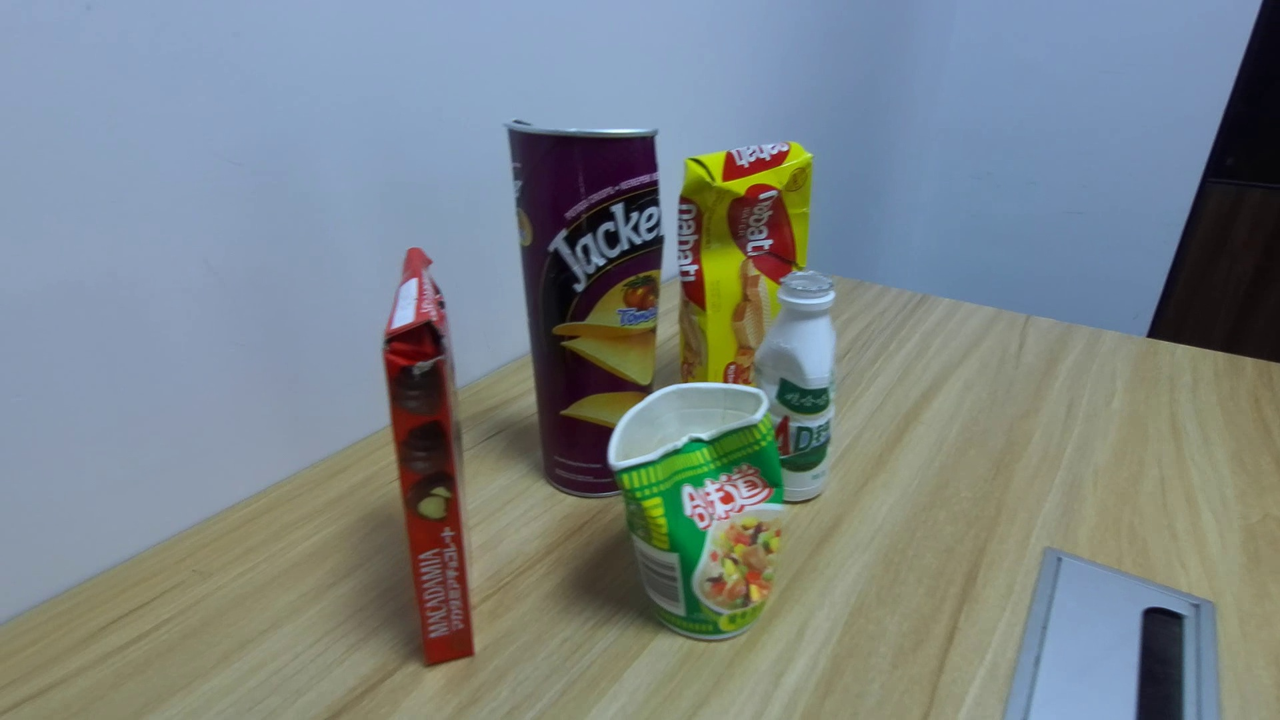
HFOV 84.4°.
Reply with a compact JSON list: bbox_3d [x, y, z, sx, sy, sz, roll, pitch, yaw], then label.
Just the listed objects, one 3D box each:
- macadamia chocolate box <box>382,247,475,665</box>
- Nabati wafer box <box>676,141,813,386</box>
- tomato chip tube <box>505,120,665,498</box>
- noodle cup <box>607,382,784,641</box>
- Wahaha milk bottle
[{"bbox_3d":[-0.105,0.050,0.358,0.027,0.187,0.102,-5,24,-15],"label":"macadamia chocolate box"},{"bbox_3d":[0.077,-0.060,0.549,0.107,0.204,0.042,-15,30,-30],"label":"Nabati wafer box"},{"bbox_3d":[-0.030,-0.030,0.456,0.076,0.235,0.077,-11,27,-17],"label":"tomato chip tube"},{"bbox_3d":[0.035,0.079,0.370,0.083,0.122,0.075,-11,19,1],"label":"noodle cup"},{"bbox_3d":[0.098,0.019,0.448,0.055,0.149,0.055,0,28,0],"label":"Wahaha milk bottle"}]
